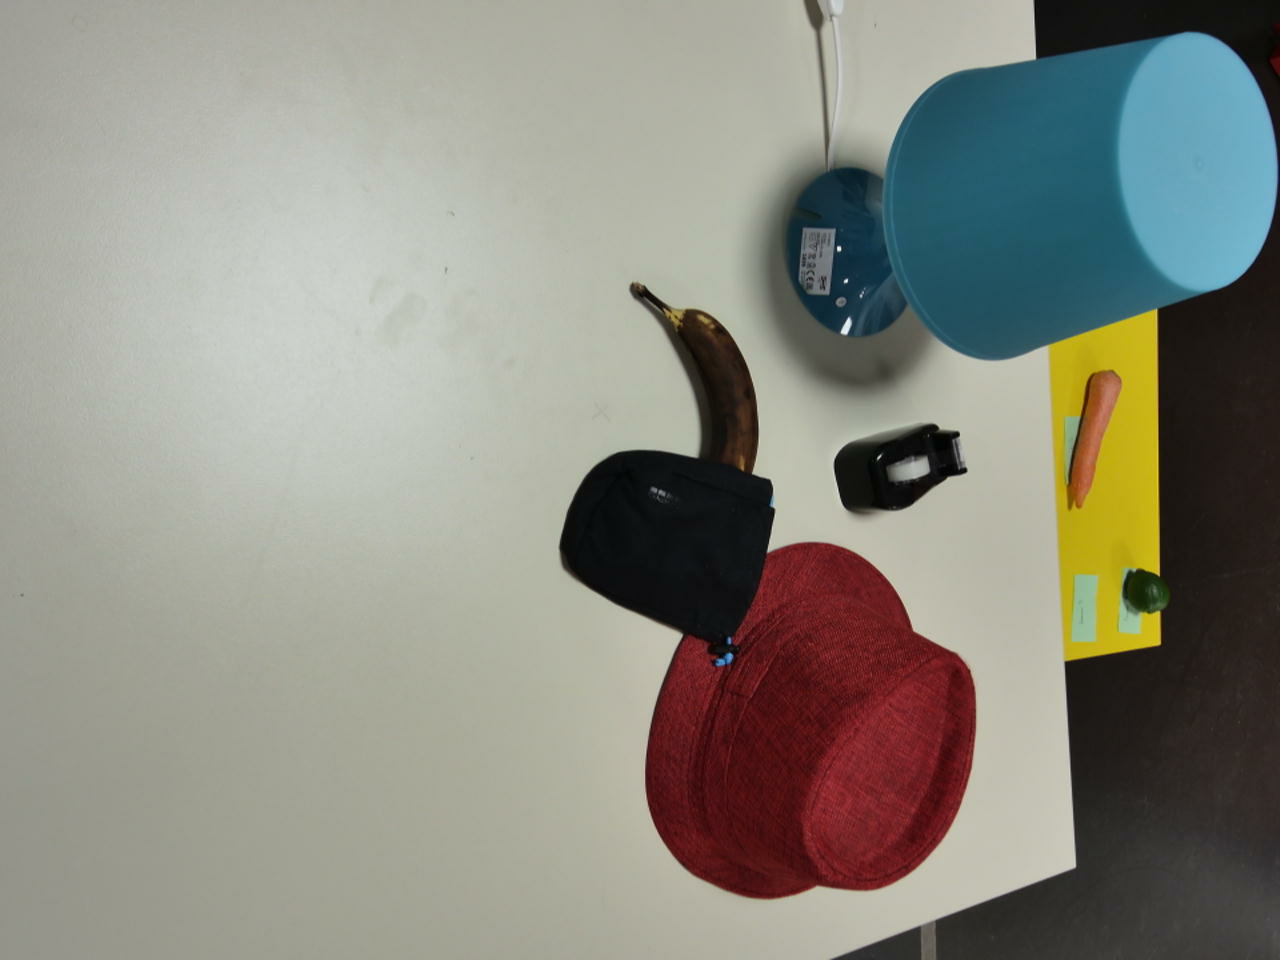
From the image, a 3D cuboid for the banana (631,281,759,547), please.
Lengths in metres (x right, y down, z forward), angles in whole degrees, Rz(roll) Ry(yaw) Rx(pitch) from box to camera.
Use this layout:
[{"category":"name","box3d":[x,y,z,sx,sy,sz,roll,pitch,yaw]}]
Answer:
[{"category":"banana","box3d":[0.045,-0.048,0.712,0.091,0.034,0.188,-4,93,-28]}]
